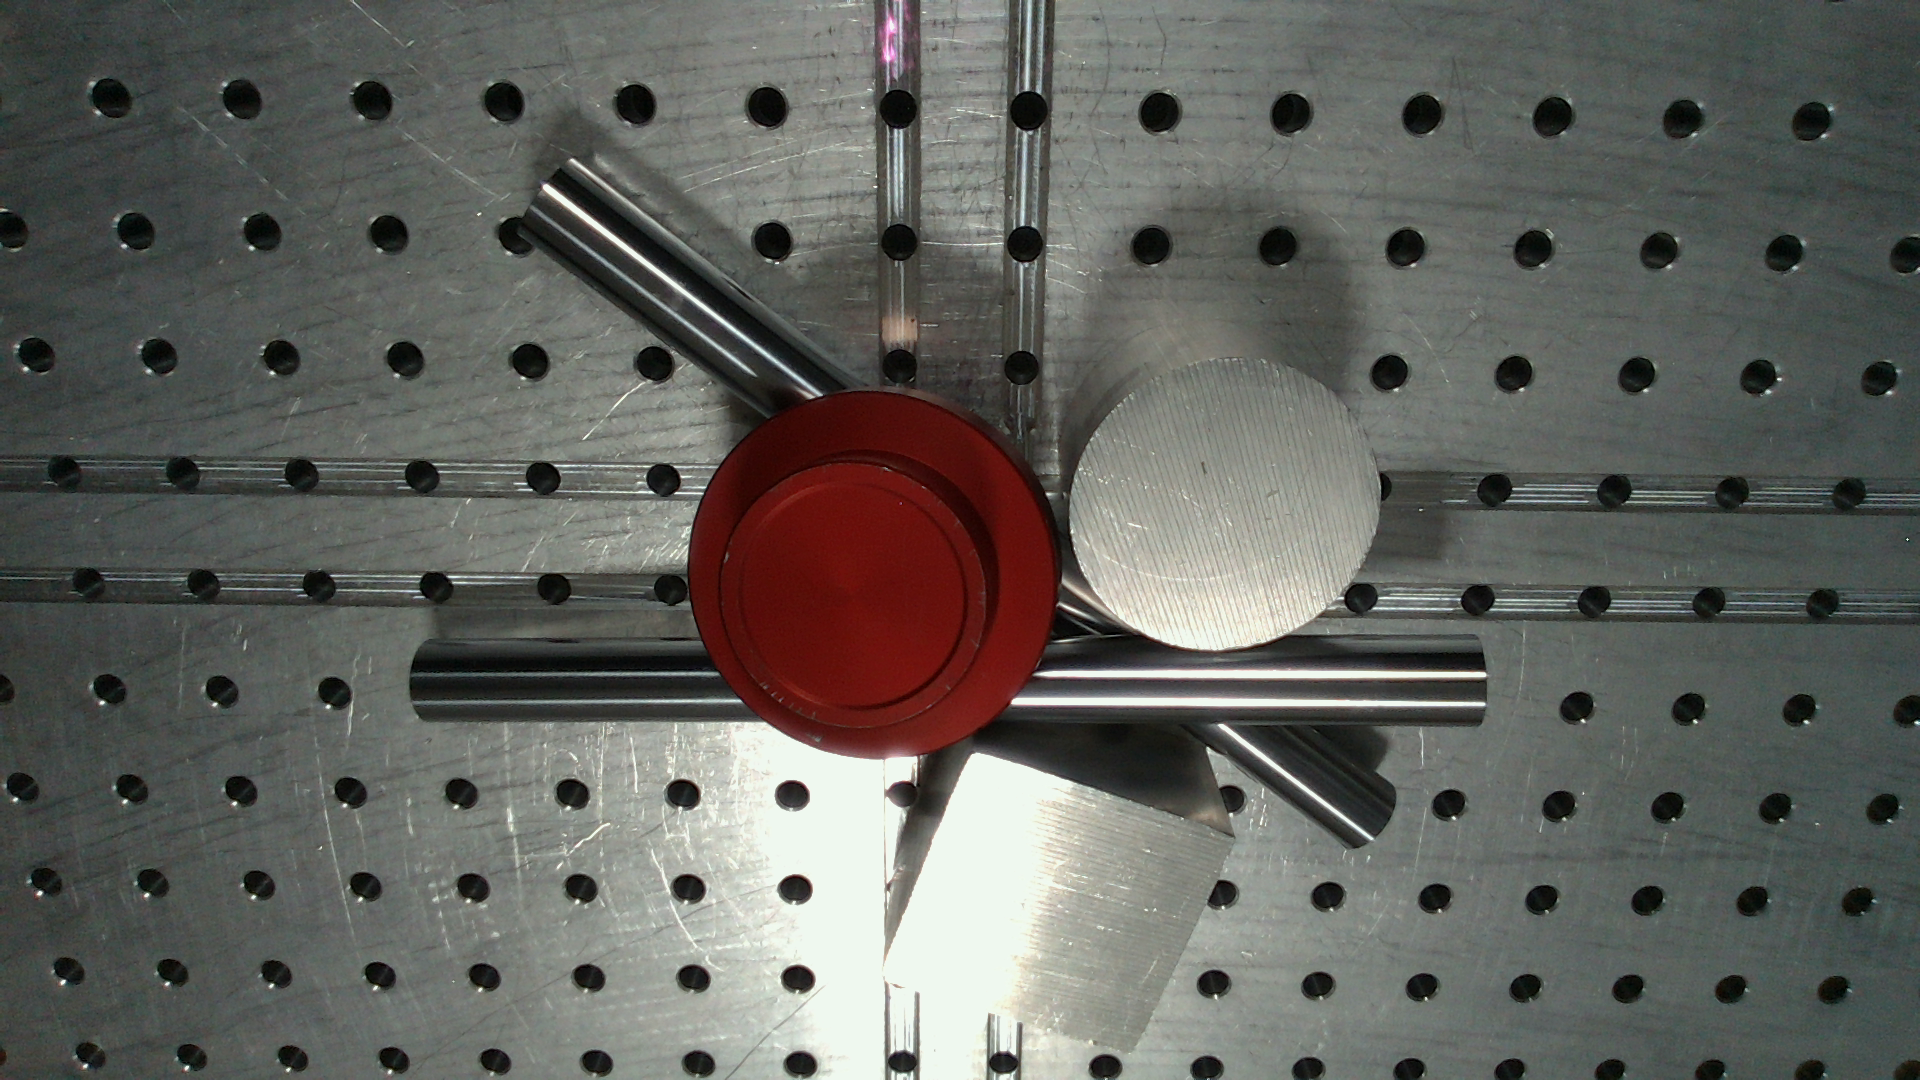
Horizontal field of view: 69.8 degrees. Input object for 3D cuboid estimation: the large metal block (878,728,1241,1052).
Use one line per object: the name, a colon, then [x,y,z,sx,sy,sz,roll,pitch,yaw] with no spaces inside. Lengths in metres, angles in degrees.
large metal block: [0.027,0.096,0.416,0.080,0.050,0.080,19,109,-7]

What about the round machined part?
round machined part: [-0.024,0.010,0.355,0.098,0.042,0.098,1,102,6]

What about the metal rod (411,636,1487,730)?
metal rod: [-0.009,0.040,0.391,0.300,0.025,0.025,0,110,8]

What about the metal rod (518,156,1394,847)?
metal rod: [0.008,-0.003,0.396,0.300,0.025,0.025,37,106,-13]

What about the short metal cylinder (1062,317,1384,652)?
short metal cylinder: [0.069,-0.016,0.376,0.080,0.050,0.080,0,110,0]
